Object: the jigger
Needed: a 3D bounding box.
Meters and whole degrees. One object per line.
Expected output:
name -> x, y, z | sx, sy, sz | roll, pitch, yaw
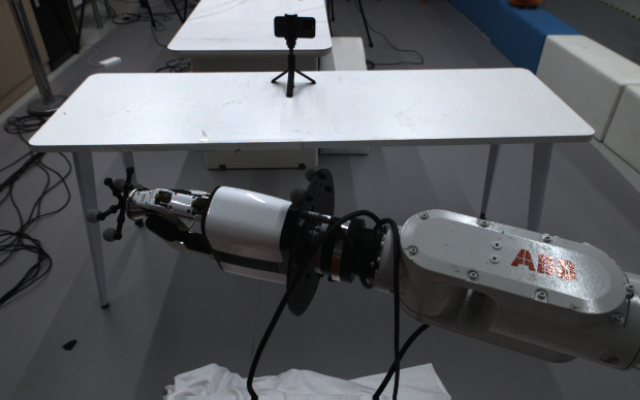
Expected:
jigger -> -0.181, 0.005, 0.564 | 0.071, 0.043, 0.043 | 7, 35, 14
